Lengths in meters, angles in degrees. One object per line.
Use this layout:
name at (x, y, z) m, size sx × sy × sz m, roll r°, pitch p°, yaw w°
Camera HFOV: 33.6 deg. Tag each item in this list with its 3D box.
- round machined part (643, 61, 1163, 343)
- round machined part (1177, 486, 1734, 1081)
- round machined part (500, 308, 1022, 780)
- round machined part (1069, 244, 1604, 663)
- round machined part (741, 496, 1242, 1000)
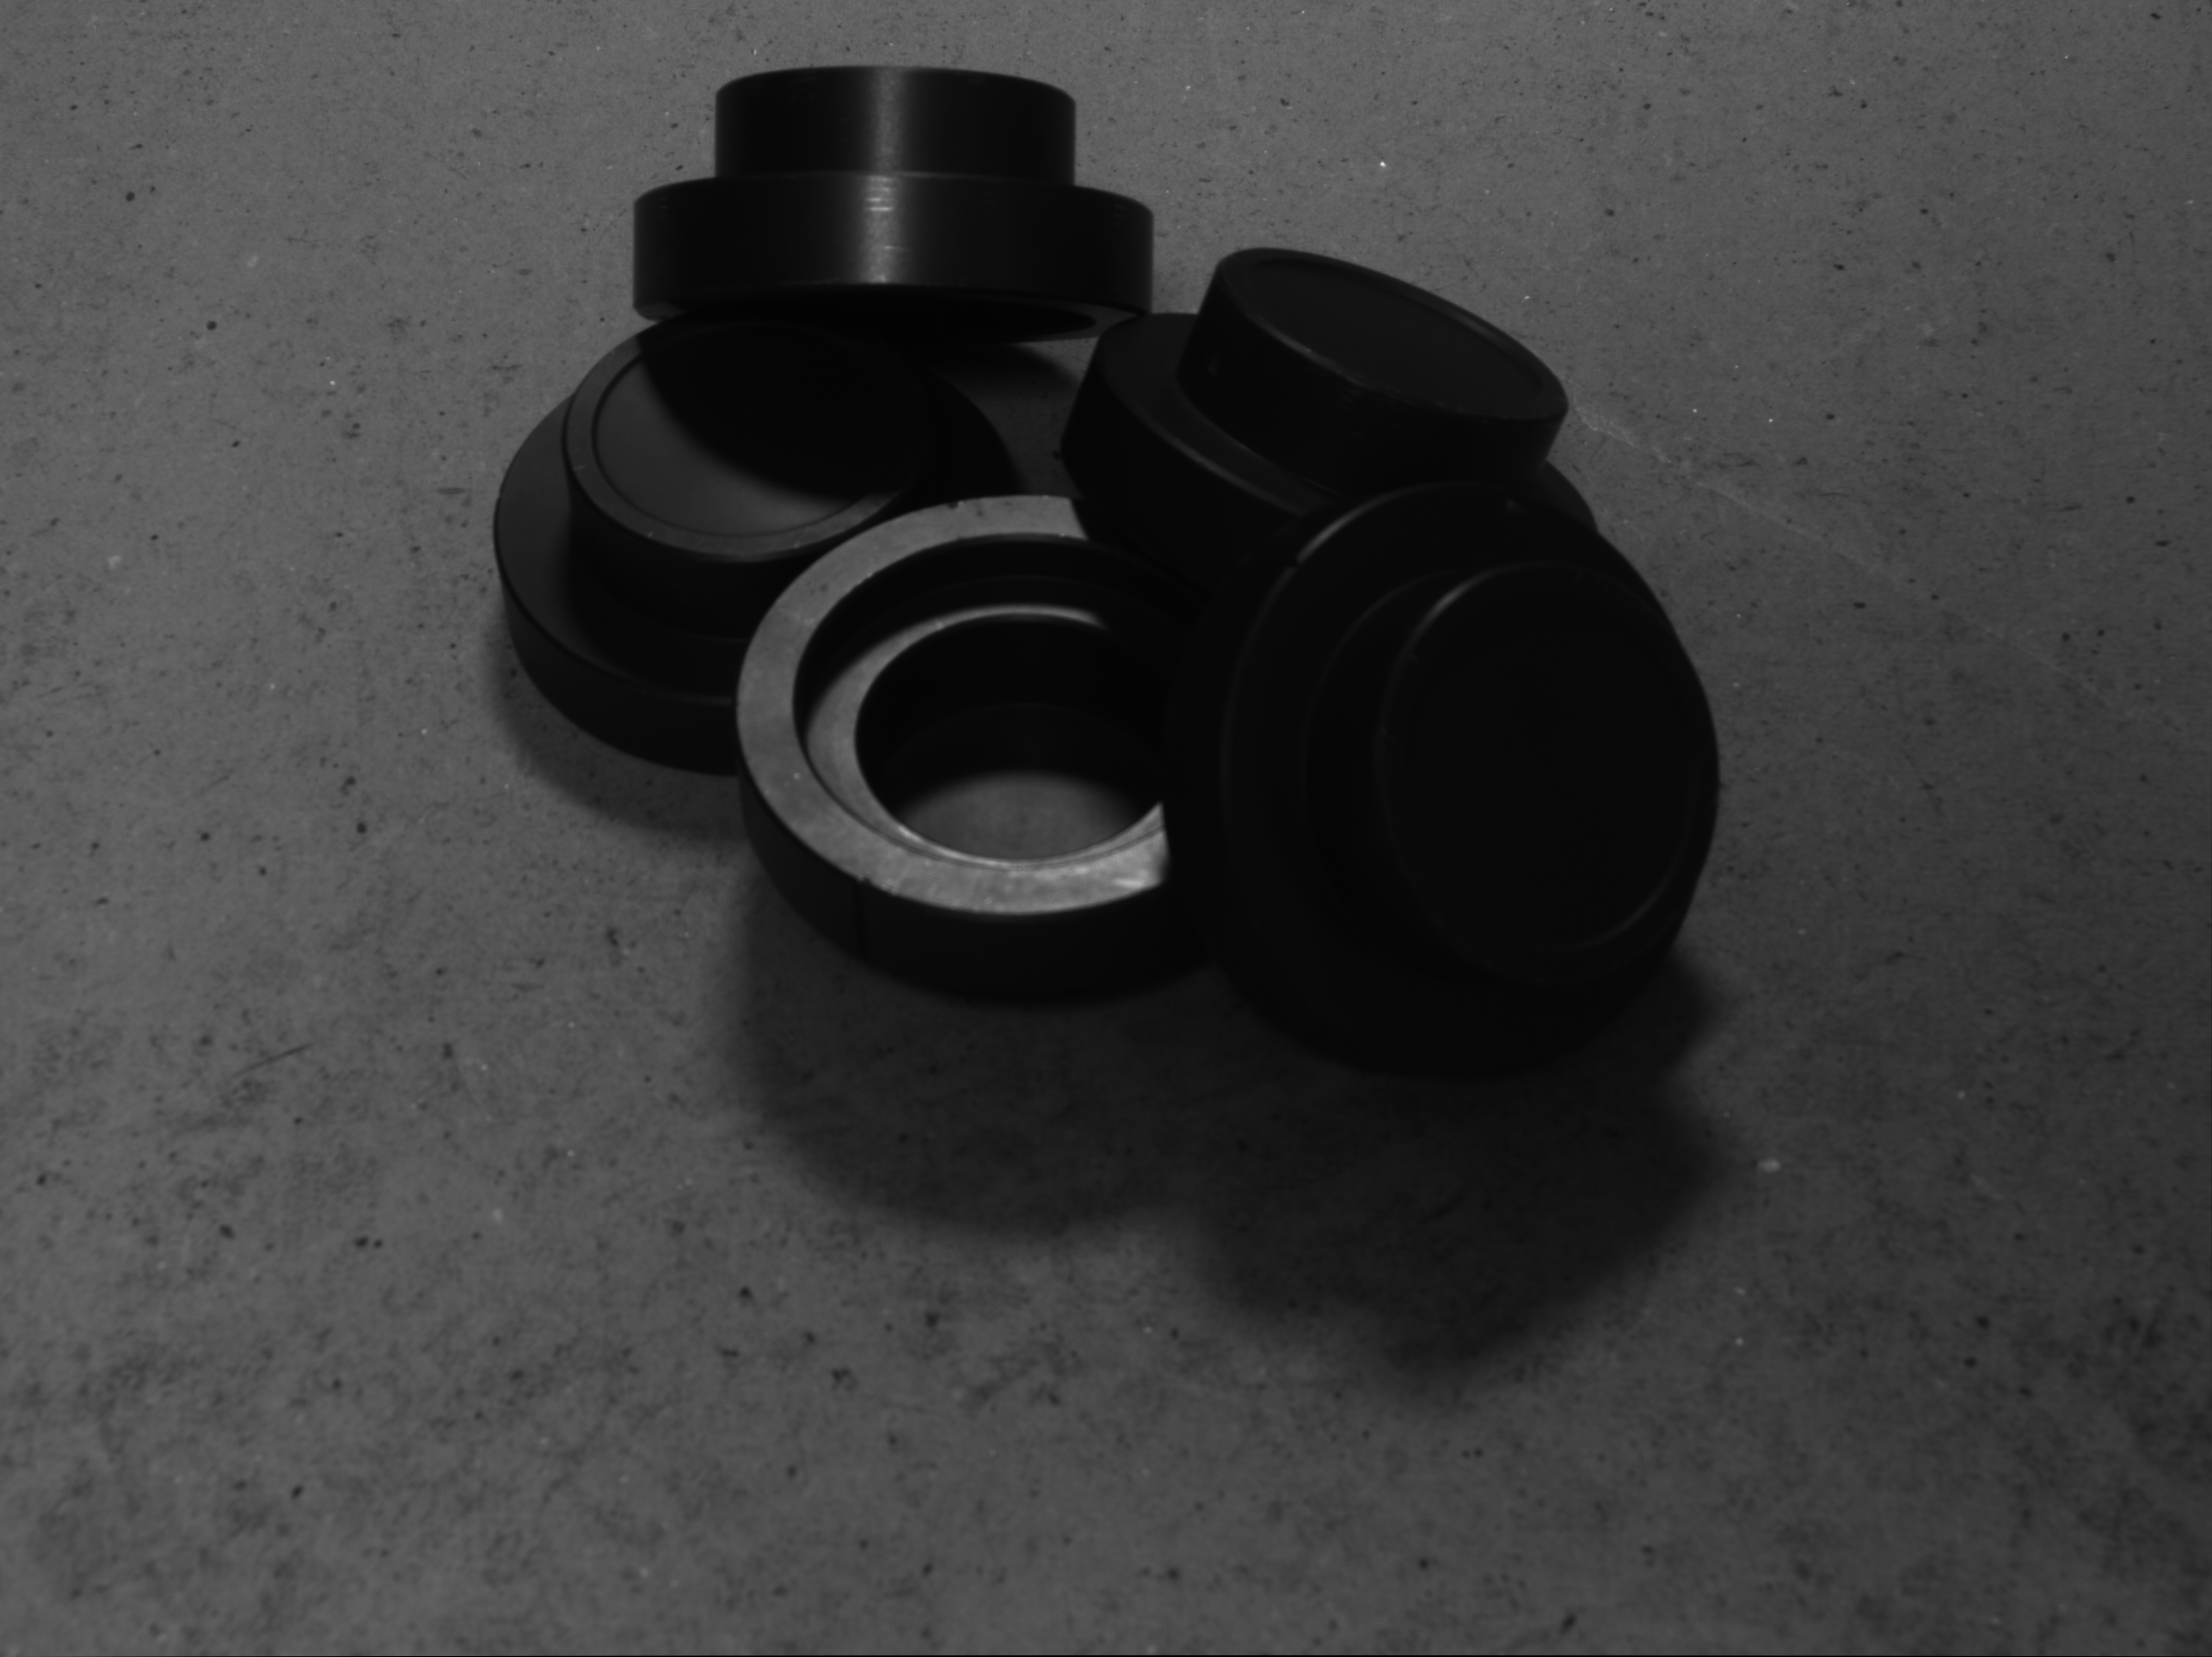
round machined part at (-0.038, -0.118, 0.693) m, size 0.098 × 0.098 × 0.042 m, roll 1°, pitch 91°, yaw 1°
round machined part at (0.064, -0.007, 0.601) m, size 0.098 × 0.098 × 0.042 m, roll -36°, pitch 17°, yaw -26°
round machined part at (-0.064, -0.059, 0.683) m, size 0.098 × 0.042 × 0.098 m, roll 0°, pitch 50°, yaw 0°
round machined part at (0.046, -0.072, 0.663) m, size 0.098 × 0.042 × 0.098 m, roll 19°, pitch 25°, yaw -9°
round machined part at (-0.013, -0.009, 0.639) m, size 0.098 × 0.042 × 0.098 m, roll 0°, pitch 50°, yaw 0°
